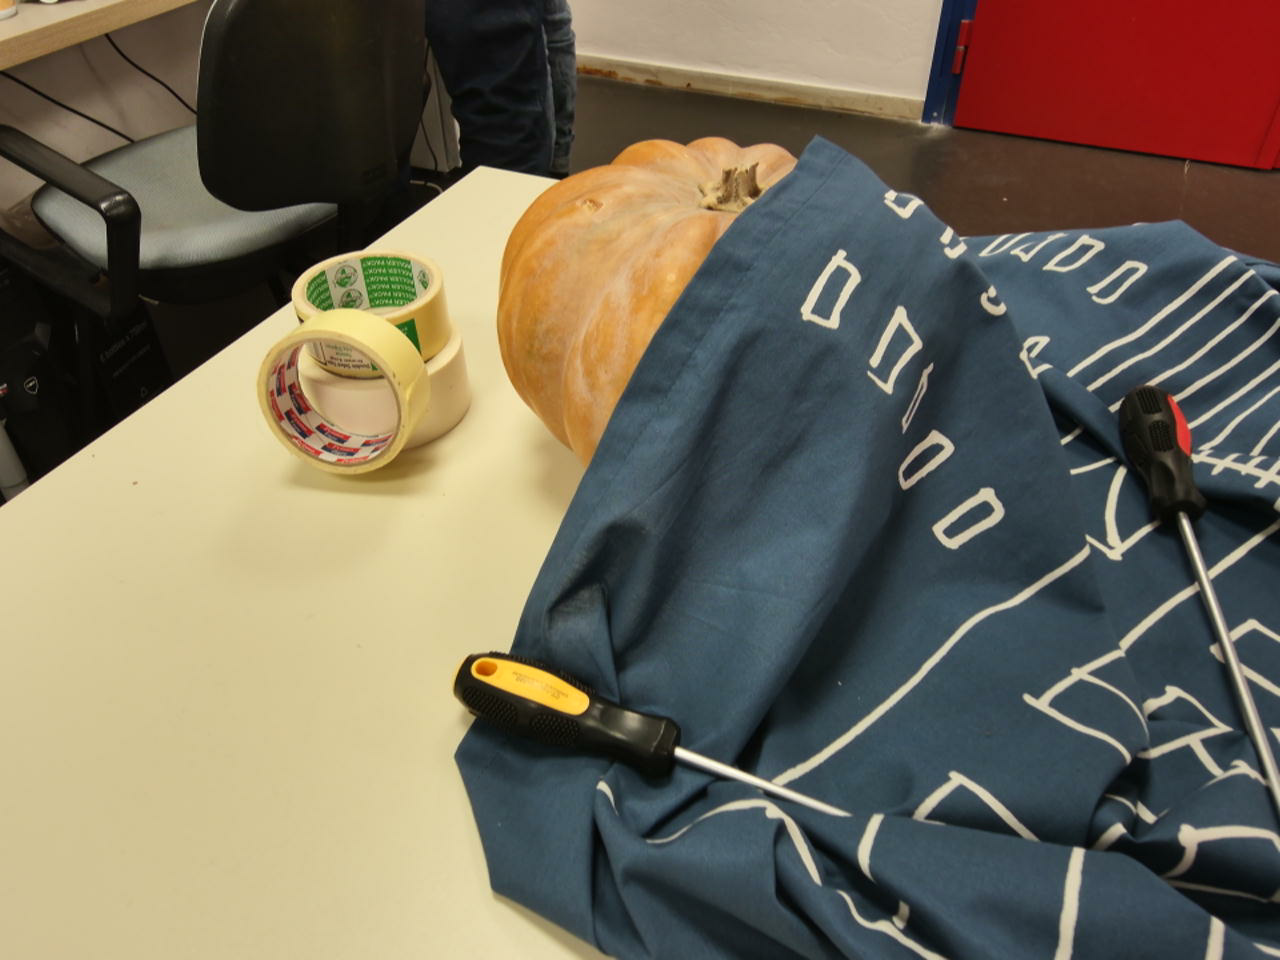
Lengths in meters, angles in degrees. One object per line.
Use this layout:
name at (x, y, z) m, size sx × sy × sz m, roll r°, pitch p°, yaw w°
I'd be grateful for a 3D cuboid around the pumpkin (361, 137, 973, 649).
pumpkin at (0.048, -0.095, 0.583) m, size 0.277 × 0.181 × 0.277 m, roll 0°, pitch 39°, yaw 0°
